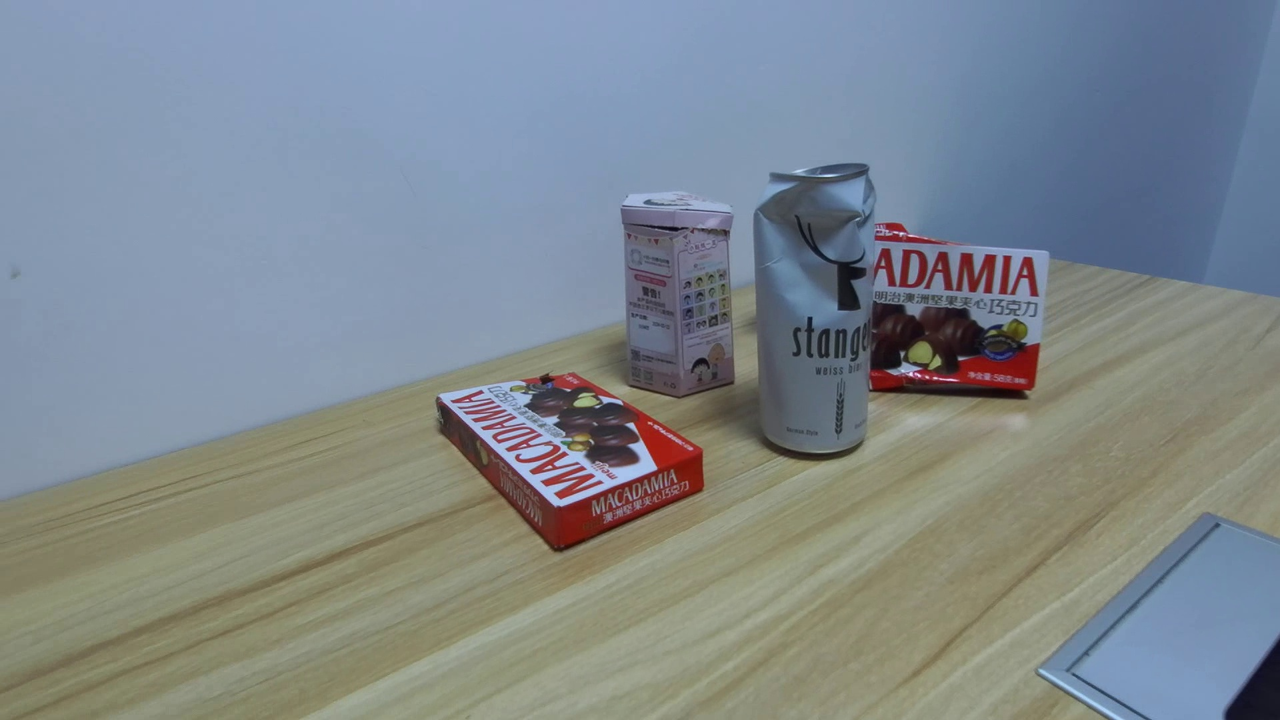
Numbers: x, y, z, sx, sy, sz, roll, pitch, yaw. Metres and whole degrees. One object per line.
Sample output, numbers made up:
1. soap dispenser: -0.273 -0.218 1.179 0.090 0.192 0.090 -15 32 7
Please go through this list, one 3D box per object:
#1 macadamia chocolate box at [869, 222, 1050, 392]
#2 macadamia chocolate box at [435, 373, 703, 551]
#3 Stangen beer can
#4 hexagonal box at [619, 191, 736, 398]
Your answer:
1. macadamia chocolate box: 0.210 -0.036 0.491 0.126 0.112 0.056 3 22 14
2. macadamia chocolate box: -0.051 0.047 0.445 0.103 0.027 0.186 -16 26 -30
3. Stangen beer can: 0.103 -0.028 0.416 0.065 0.166 0.066 4 24 21
4. hexagonal box: 0.028 -0.050 0.519 0.091 0.135 0.085 13 28 34
